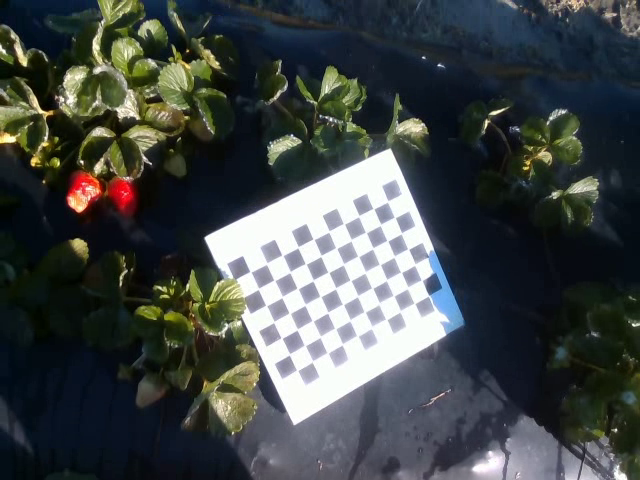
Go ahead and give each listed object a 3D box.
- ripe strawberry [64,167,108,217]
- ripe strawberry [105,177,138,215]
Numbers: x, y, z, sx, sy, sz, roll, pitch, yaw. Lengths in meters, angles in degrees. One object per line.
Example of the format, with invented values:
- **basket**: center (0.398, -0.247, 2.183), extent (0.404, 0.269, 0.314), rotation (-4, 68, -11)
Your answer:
- **ripe strawberry**: center (-0.342, -0.065, 0.876), extent (0.052, 0.070, 0.040), rotation (23, -13, -21)
- **ripe strawberry**: center (-0.288, -0.065, 0.881), extent (0.043, 0.059, 0.040), rotation (-26, 2, -14)
